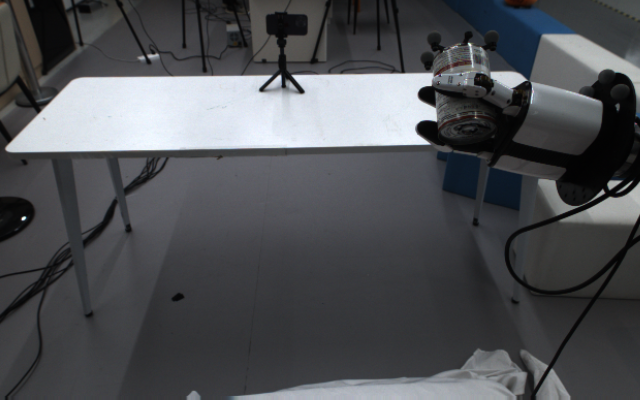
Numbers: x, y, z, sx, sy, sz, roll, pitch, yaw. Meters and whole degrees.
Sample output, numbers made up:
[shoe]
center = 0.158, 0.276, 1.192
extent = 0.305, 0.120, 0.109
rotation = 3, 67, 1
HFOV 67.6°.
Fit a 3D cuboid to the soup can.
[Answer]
[soup can]
center = 0.174, -0.127, 0.581
extent = 0.067, 0.067, 0.101
rotation = 1, 72, -2
